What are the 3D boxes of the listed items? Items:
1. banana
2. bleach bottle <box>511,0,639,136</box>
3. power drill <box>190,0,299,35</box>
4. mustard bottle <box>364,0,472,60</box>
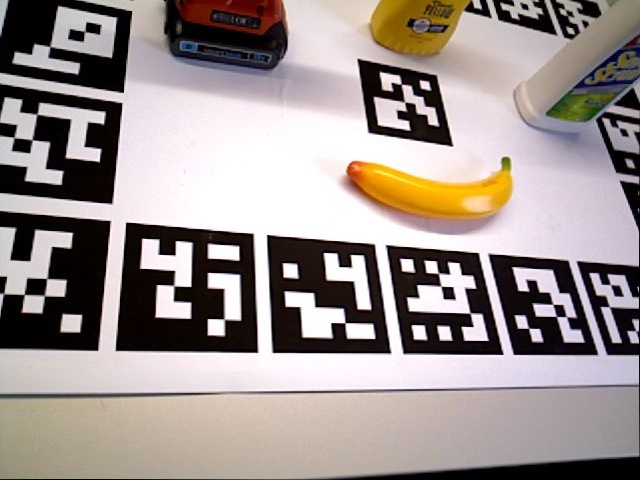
[{"bbox_3d":[0.120,-0.051,0.519,0.194,0.039,0.074,-1,68,-19],"label":"banana"},{"bbox_3d":[0.321,-0.213,0.562,0.101,0.256,0.067,12,60,-17],"label":"bleach bottle"},{"bbox_3d":[-0.032,-0.258,0.442,0.182,0.191,0.057,-2,65,-19],"label":"power drill"},{"bbox_3d":[0.127,-0.272,0.551,0.094,0.196,0.058,-2,66,-25],"label":"mustard bottle"}]
